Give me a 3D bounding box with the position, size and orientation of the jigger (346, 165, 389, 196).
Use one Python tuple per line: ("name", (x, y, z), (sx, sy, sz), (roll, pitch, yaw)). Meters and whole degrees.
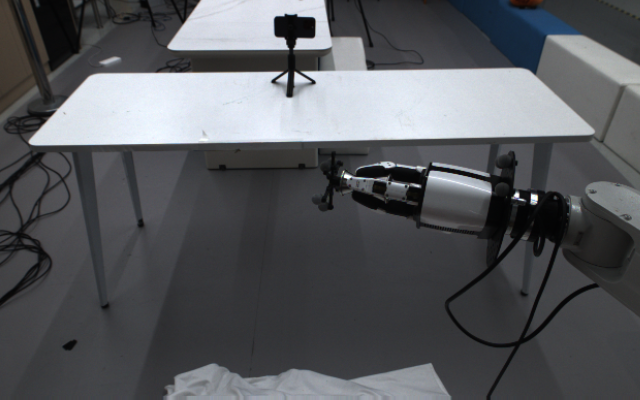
("jigger", (0.072, -0.025, 0.694), (0.071, 0.043, 0.043), (8, 35, 16))
